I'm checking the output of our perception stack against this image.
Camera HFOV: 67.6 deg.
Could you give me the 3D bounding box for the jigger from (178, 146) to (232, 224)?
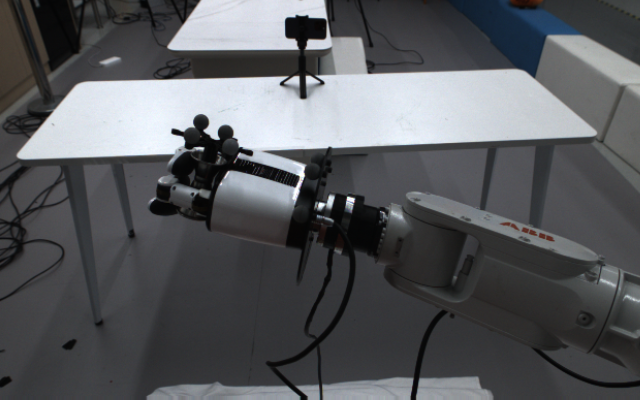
[{"bbox_3d":[-0.131,-0.015,0.543,0.043,0.071,0.043,18,17,-6],"label":"jigger"}]
